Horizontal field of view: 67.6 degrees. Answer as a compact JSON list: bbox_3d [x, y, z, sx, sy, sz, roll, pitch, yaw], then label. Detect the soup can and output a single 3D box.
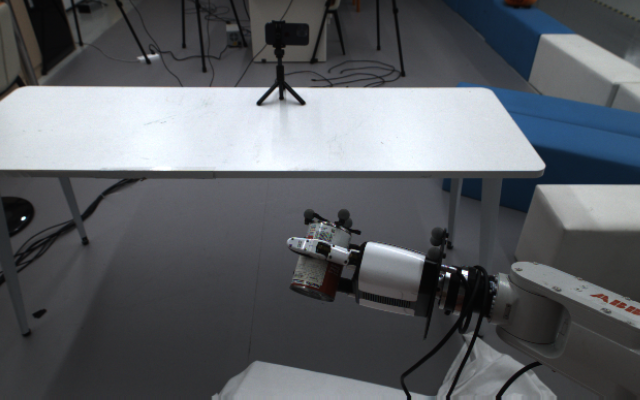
[{"bbox_3d":[0.004,0.089,0.705,0.067,0.067,0.101,12,70,14],"label":"soup can"}]
